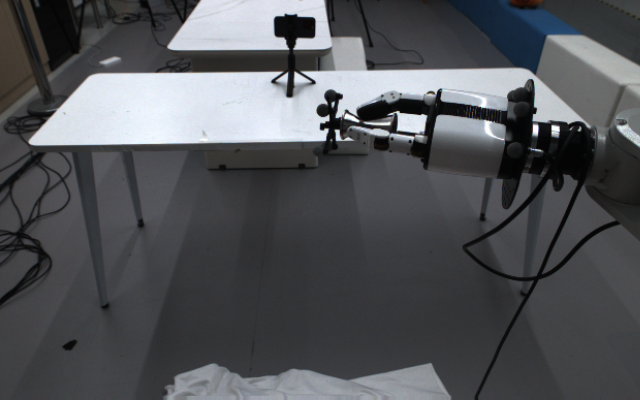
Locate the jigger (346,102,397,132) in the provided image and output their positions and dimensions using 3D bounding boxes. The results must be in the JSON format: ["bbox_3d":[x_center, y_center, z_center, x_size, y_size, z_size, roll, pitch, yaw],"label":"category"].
[{"bbox_3d":[0.070,-0.099,0.638,0.071,0.043,0.043,9,35,17],"label":"jigger"}]
